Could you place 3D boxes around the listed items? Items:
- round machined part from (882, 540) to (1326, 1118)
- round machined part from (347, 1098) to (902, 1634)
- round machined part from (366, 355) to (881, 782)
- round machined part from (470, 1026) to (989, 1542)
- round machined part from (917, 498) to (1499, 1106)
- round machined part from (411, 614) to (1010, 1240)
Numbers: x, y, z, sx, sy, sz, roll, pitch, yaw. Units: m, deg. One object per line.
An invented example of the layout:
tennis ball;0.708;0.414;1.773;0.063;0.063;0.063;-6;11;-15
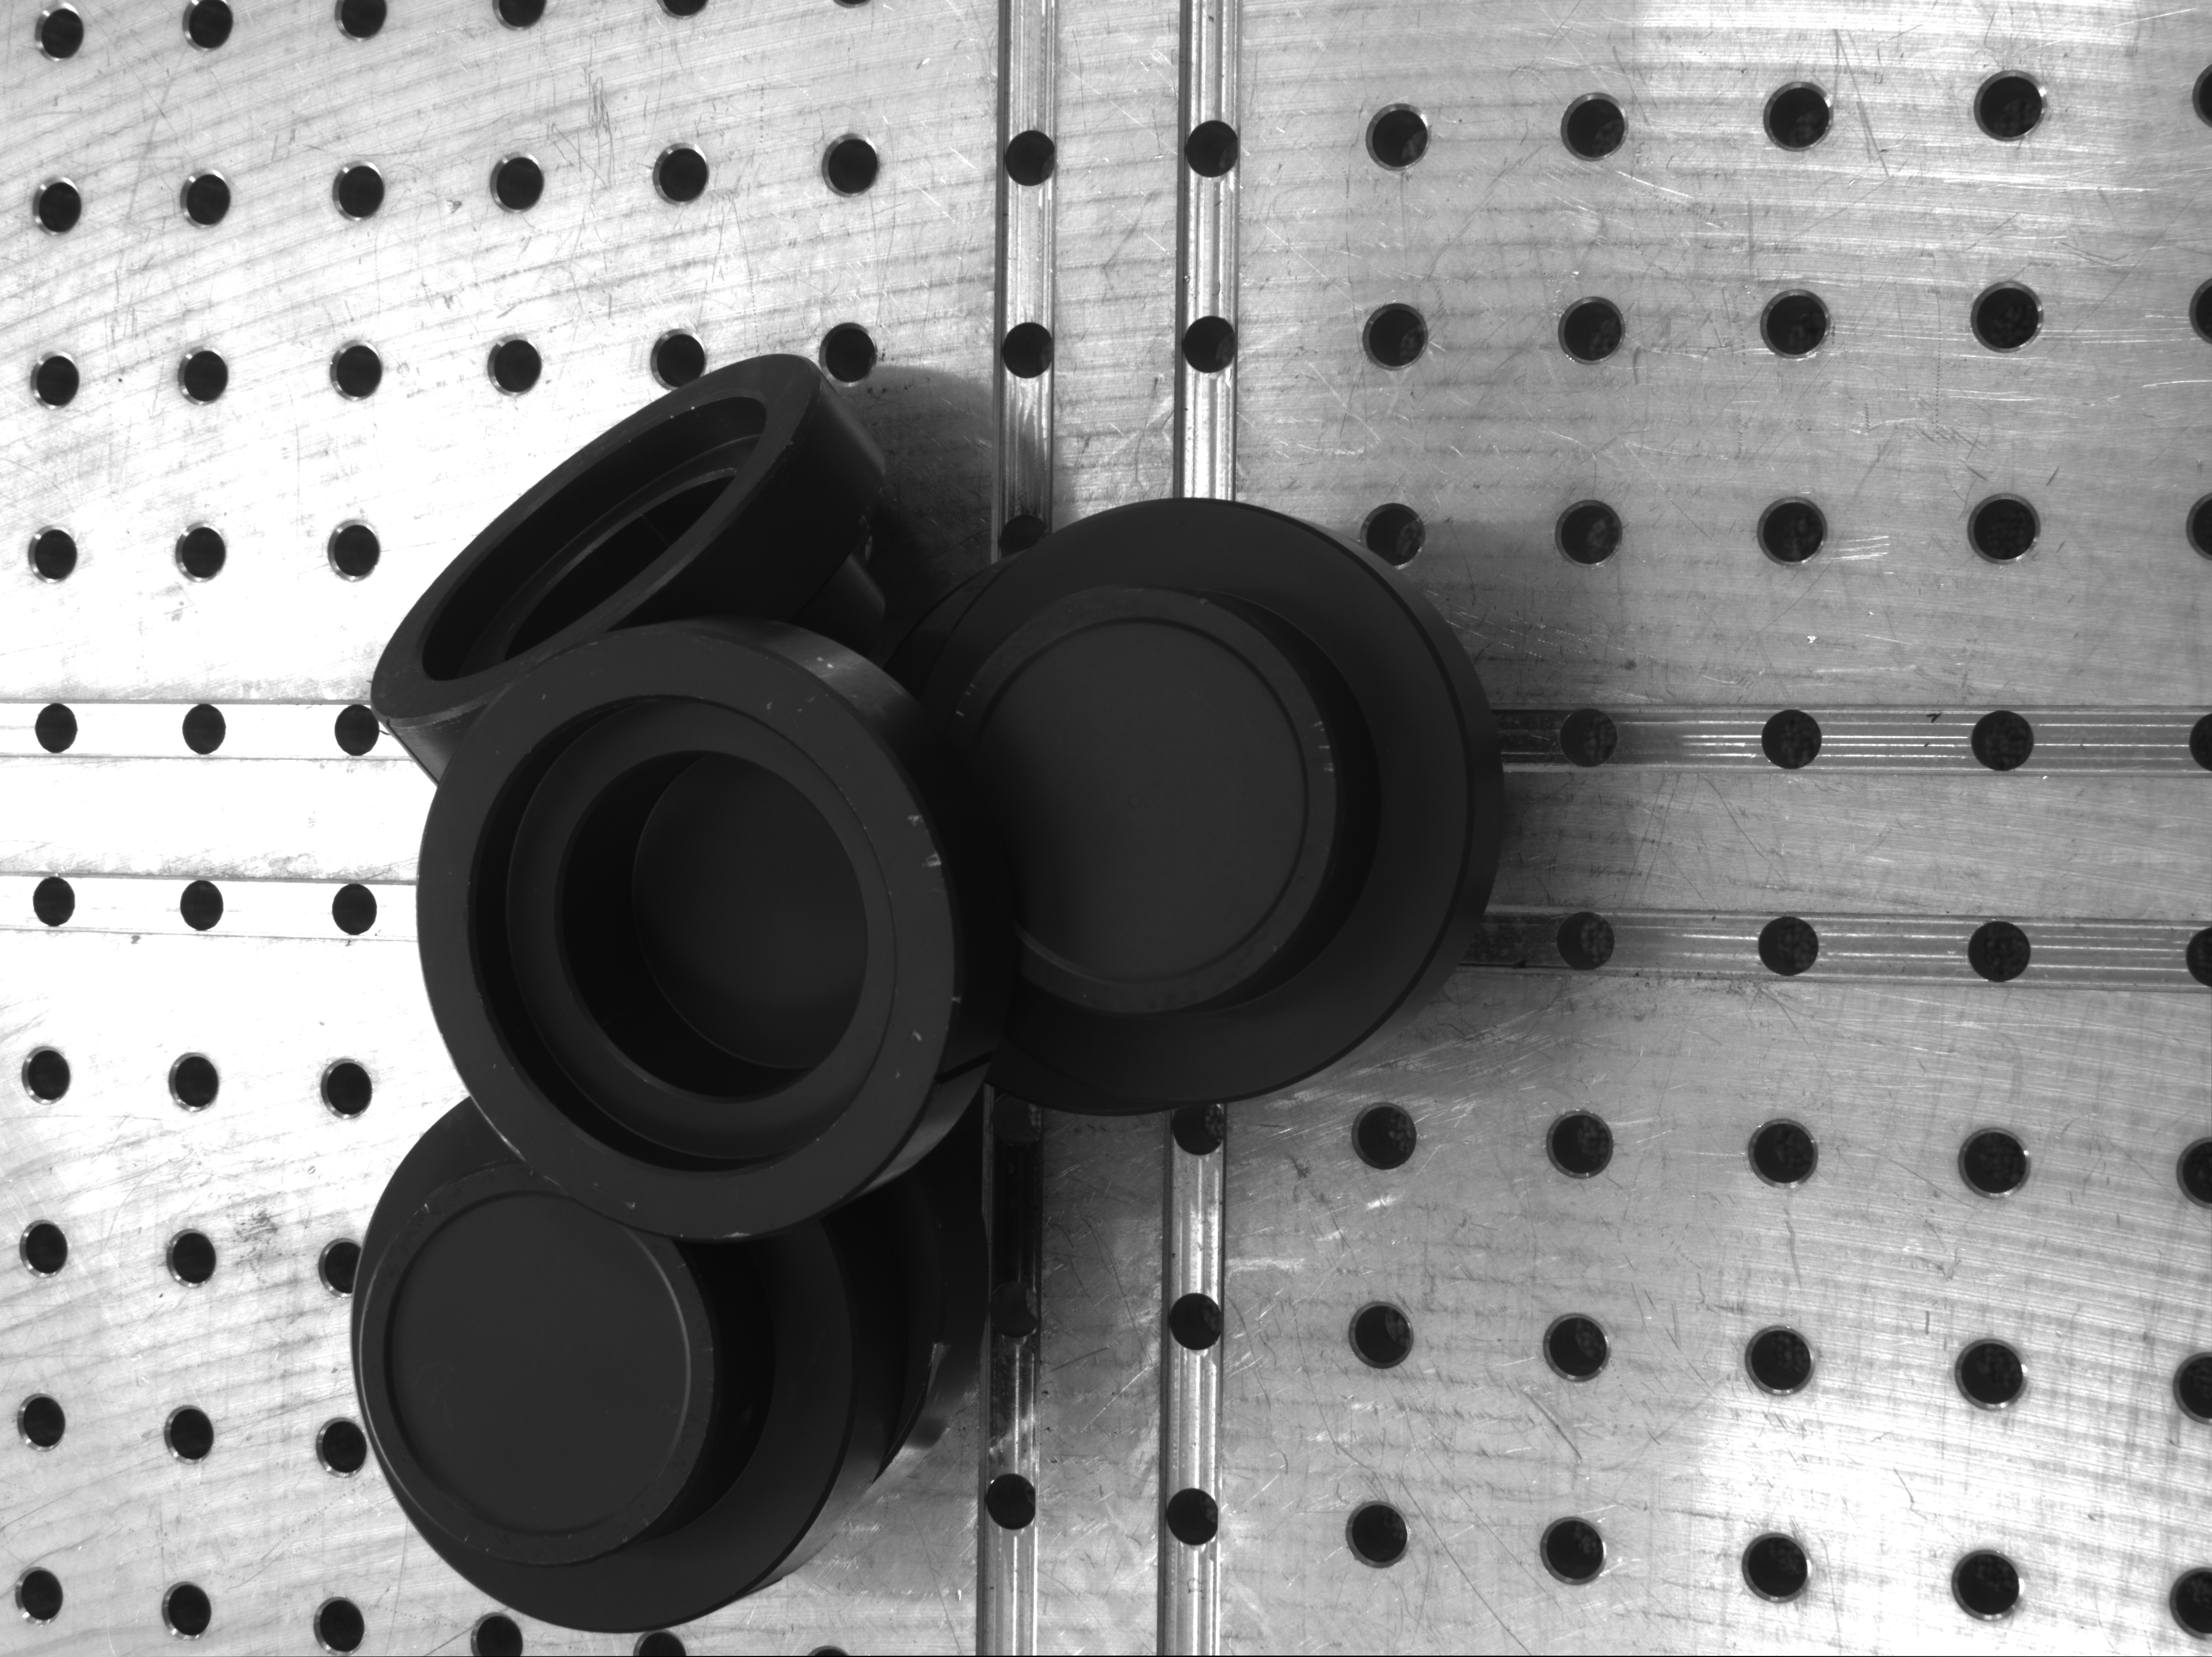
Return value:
round machined part;-0.002;0.000;0.619;0.098;0.042;0.098;0;90;20
round machined part;-0.088;0.089;0.627;0.098;0.042;0.098;0;90;20
round machined part;-0.079;-0.036;0.649;0.098;0.098;0.042;-29;115;18
round machined part;-0.073;0.079;0.645;0.098;0.042;0.098;0;90;20
round machined part;0.011;-0.004;0.591;0.098;0.042;0.098;0;89;20
round machined part;-0.060;0.014;0.594;0.098;0.042;0.098;4;99;23
